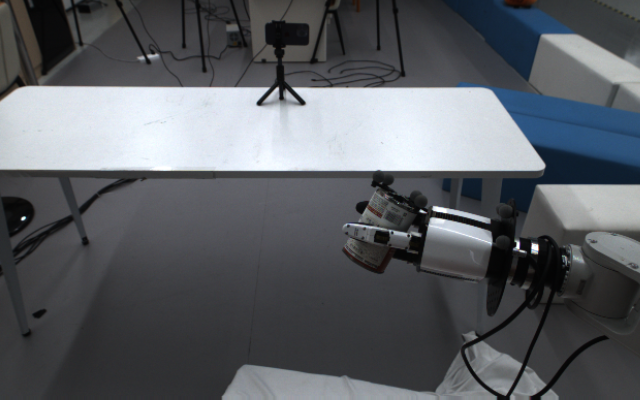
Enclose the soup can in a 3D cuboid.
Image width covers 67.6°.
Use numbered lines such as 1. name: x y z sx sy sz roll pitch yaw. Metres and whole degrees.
1. soup can: 0.086 0.043 0.680 0.067 0.101 0.067 27 10 -5
